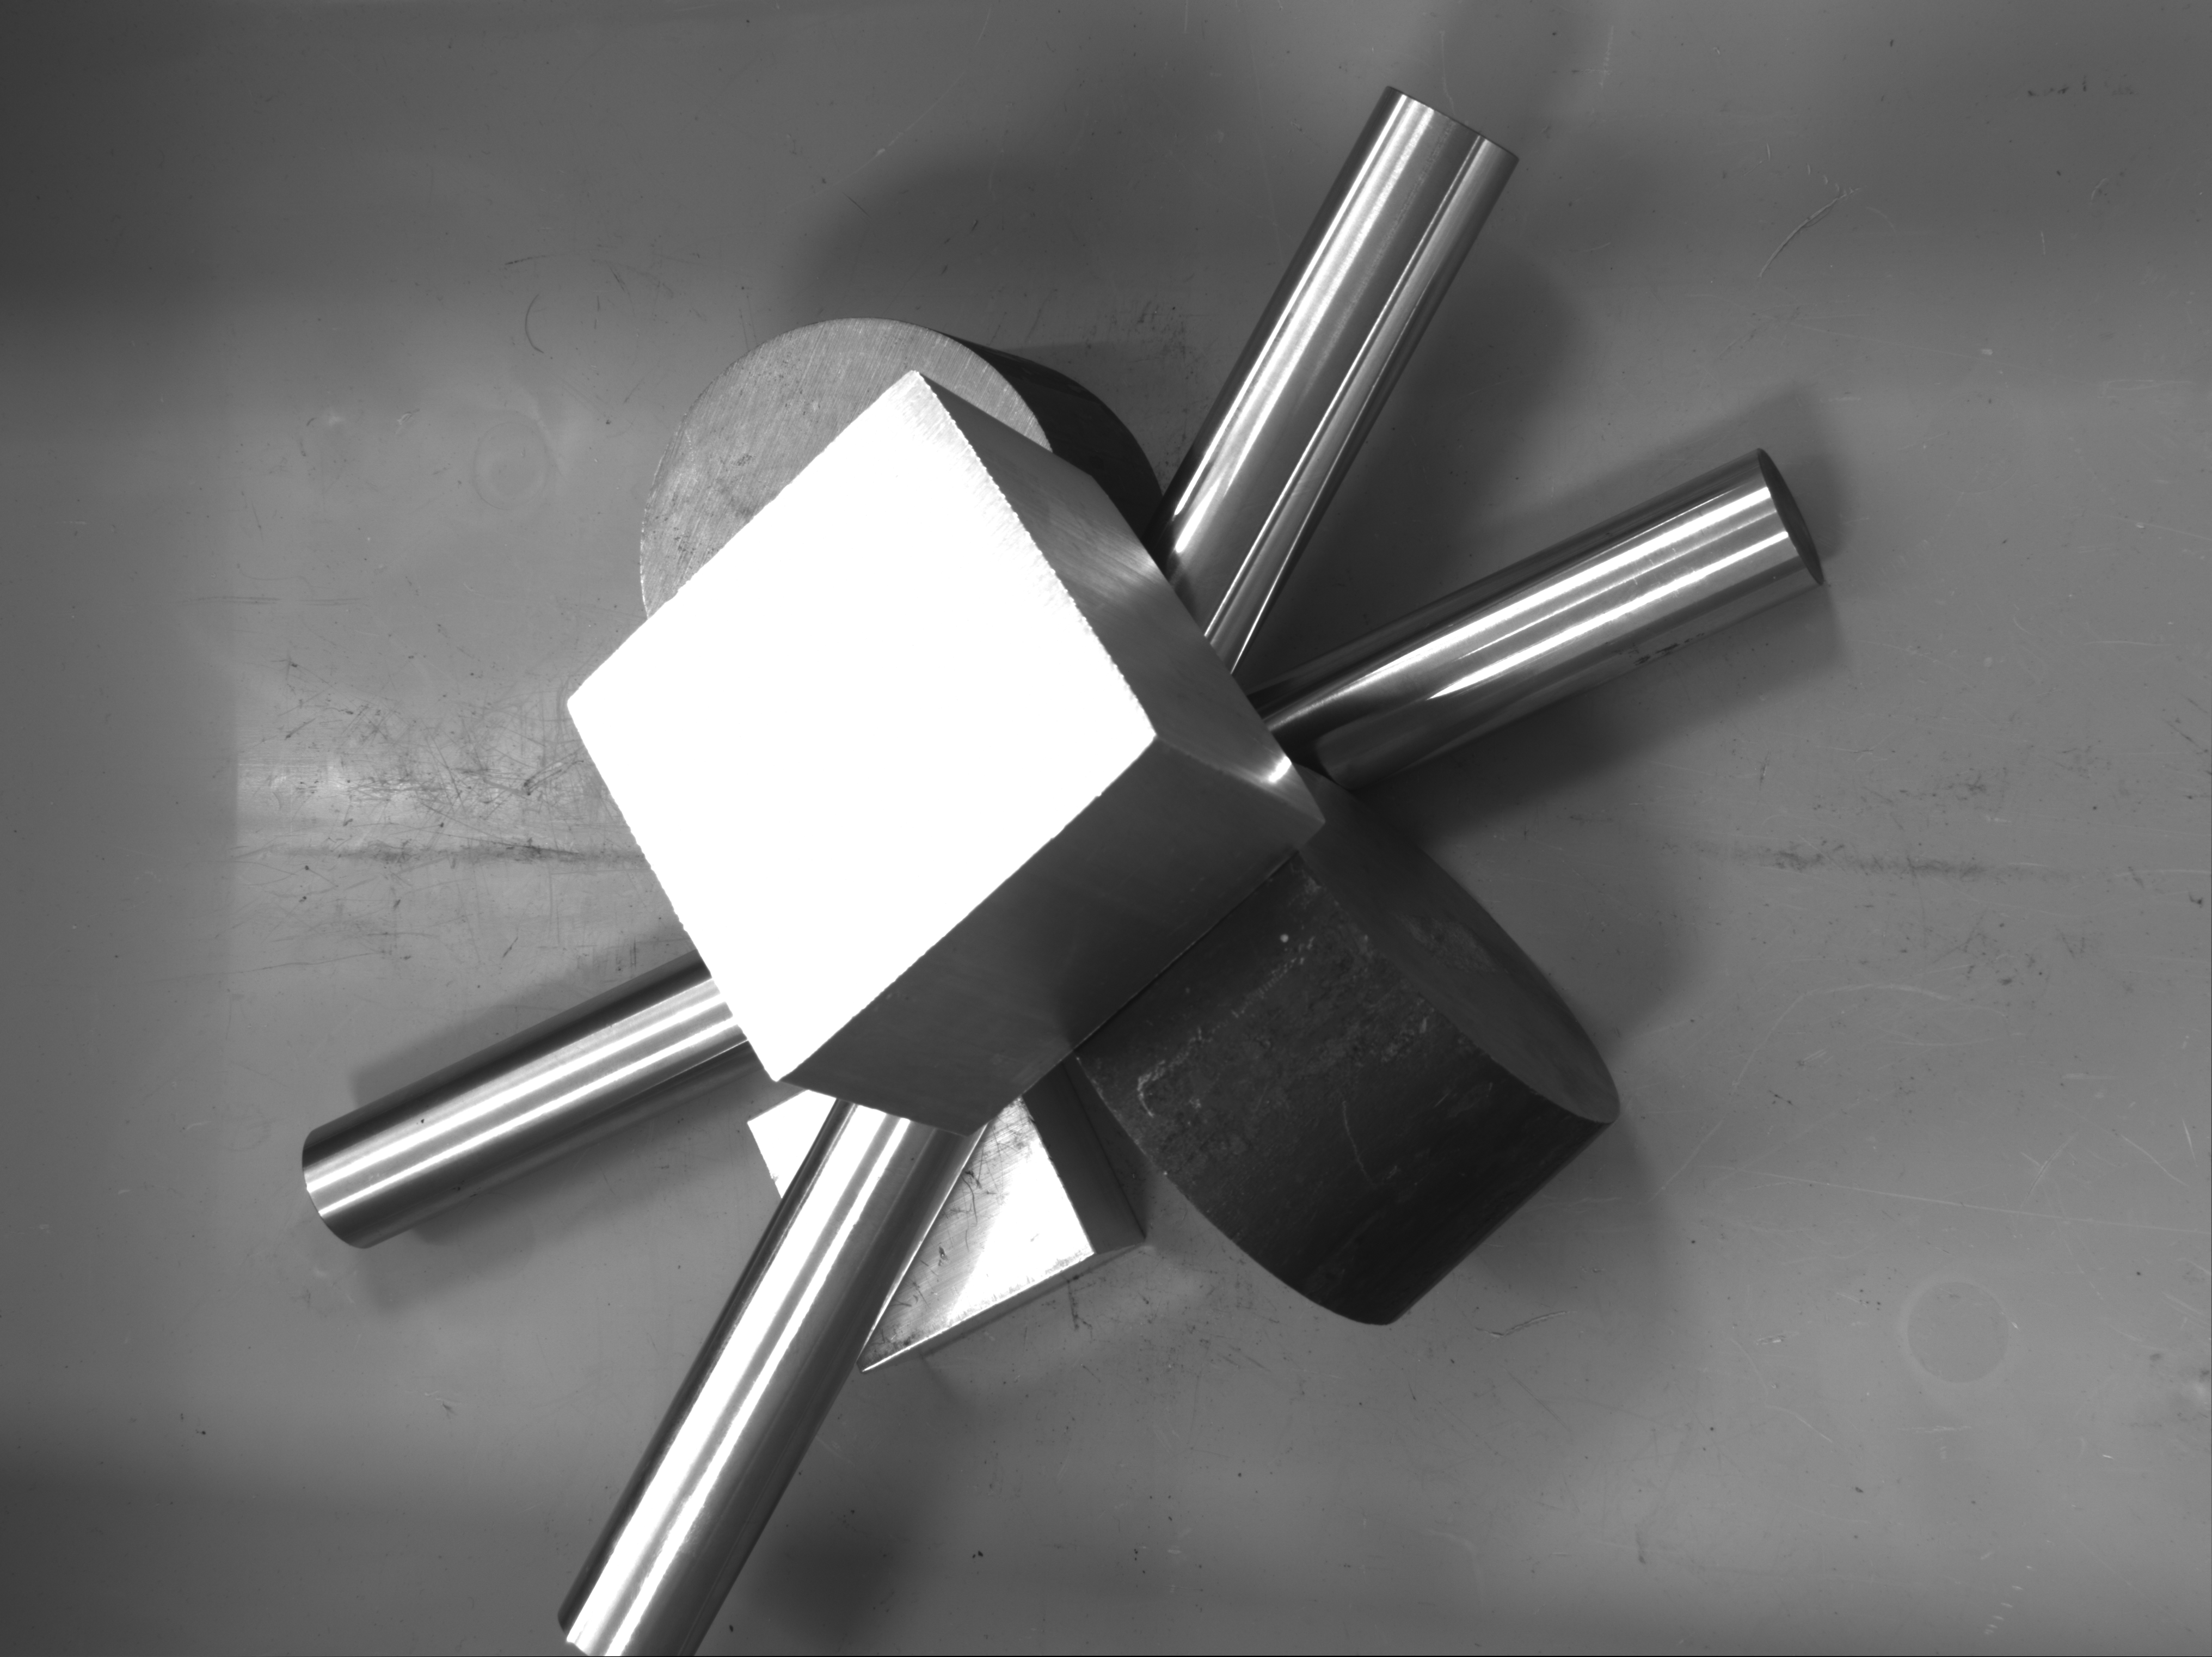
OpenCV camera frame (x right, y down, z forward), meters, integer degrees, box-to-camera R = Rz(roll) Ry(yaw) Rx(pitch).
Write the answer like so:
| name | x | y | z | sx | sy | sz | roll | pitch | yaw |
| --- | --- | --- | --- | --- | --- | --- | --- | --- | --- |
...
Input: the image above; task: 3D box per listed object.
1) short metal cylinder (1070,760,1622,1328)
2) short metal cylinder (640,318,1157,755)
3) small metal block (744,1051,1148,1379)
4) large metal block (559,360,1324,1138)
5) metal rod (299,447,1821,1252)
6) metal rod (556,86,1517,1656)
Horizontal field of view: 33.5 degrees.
| name | x | y | z | sx | sy | sz | roll | pitch | yaw |
| --- | --- | --- | --- | --- | --- | --- | --- | --- | --- |
| short metal cylinder | 0.038 | 0.035 | 0.603 | 0.050 | 0.080 | 0.080 | -45 | 76 | 15 |
| short metal cylinder | -0.034 | -0.046 | 0.645 | 0.080 | 0.050 | 0.080 | 0 | 90 | 20 |
| small metal block | -0.029 | 0.063 | 0.656 | 0.050 | 0.025 | 0.050 | -30 | 80 | 18 |
| large metal block | -0.027 | -0.011 | 0.575 | 0.080 | 0.050 | 0.080 | -42 | 59 | 16 |
| metal rod | -0.016 | 0.009 | 0.651 | 0.299 | 0.025 | 0.025 | -25 | 82 | 18 |
| metal rod | -0.015 | 0.014 | 0.625 | 0.025 | 0.025 | 0.300 | 32 | 100 | 17 |
